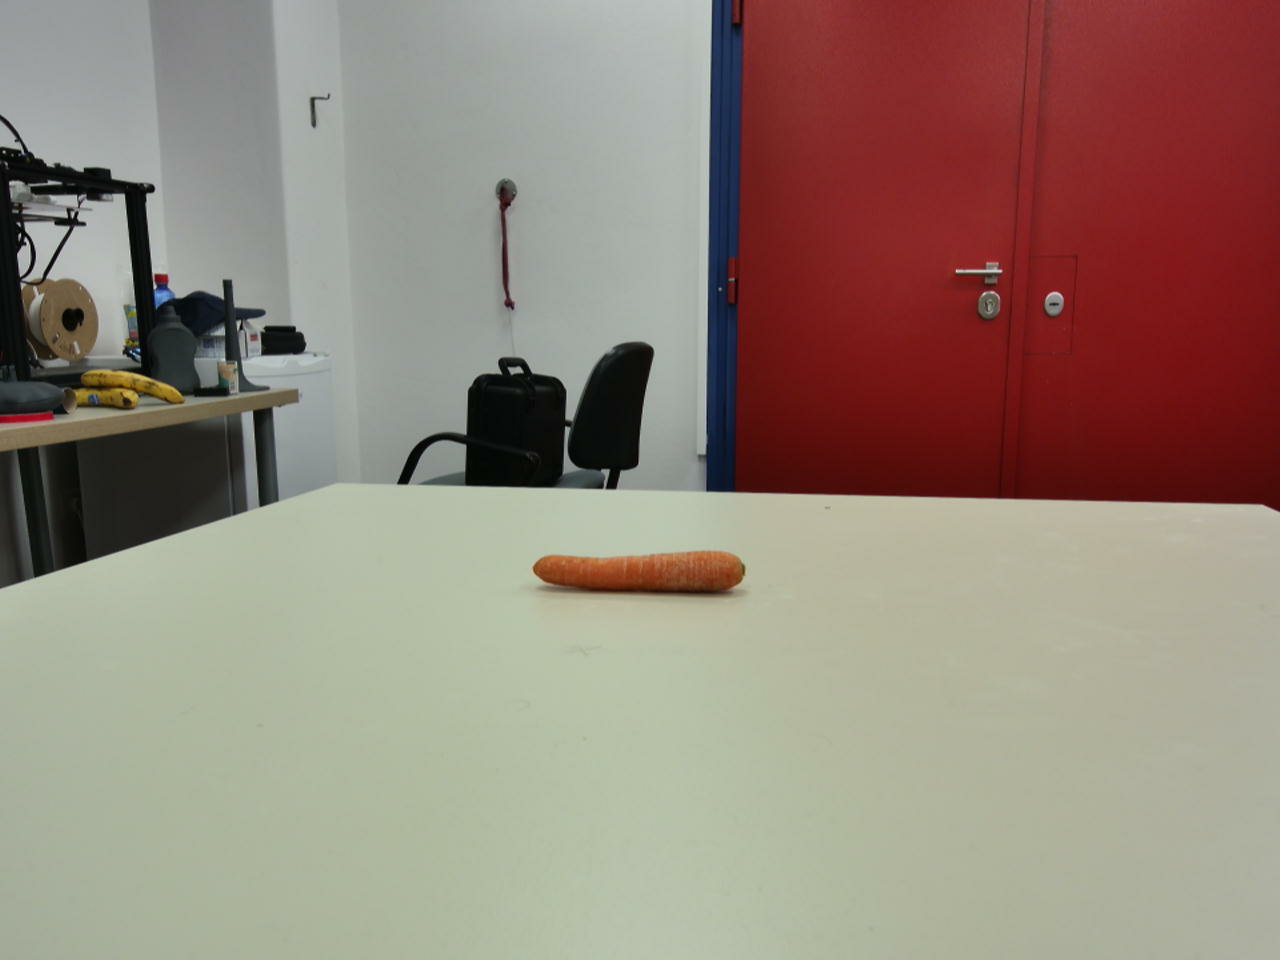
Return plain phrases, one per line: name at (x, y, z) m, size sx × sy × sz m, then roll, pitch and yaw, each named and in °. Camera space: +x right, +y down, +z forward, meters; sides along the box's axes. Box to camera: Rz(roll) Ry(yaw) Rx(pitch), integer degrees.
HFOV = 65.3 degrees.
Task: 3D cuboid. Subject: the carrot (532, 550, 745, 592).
carrot at (-0.001, 0.051, 0.570) m, size 0.122 × 0.023 × 0.024 m, roll 1°, pitch 7°, yaw 8°
